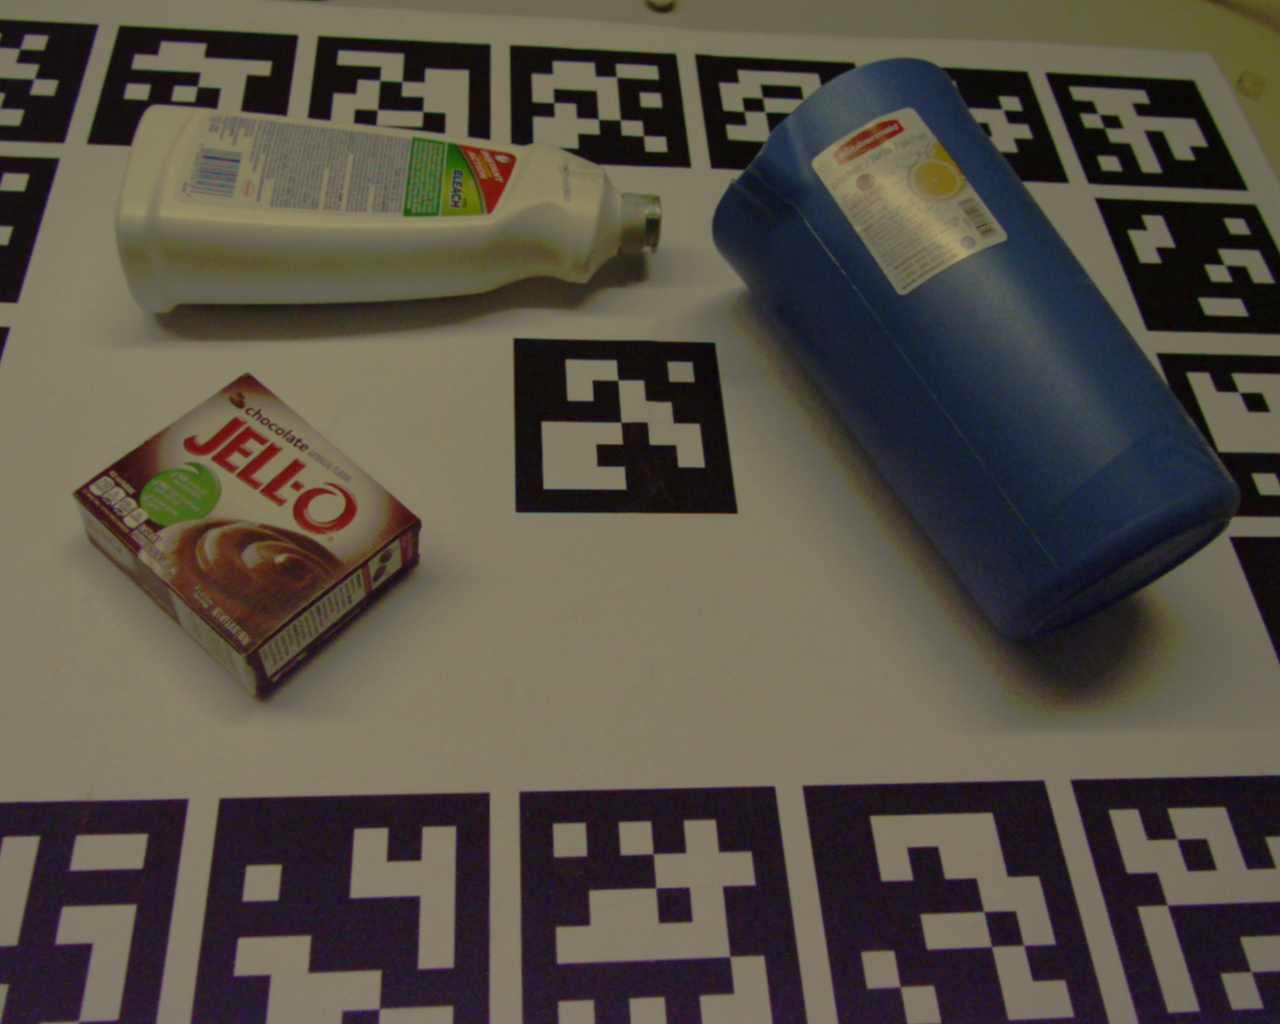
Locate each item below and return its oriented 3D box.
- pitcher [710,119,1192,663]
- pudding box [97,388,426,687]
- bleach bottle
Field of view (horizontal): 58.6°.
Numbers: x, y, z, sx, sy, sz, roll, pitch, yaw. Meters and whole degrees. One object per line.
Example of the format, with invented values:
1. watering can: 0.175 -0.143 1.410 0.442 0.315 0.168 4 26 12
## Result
1. pitcher: 0.151 -0.056 0.553 0.186 0.134 0.244 -2 58 -49
2. pudding box: -0.165 0.009 0.503 0.114 0.039 0.089 41 57 15
3. bleach bottle: -0.115 -0.143 0.594 0.249 0.068 0.103 -1 63 -10
